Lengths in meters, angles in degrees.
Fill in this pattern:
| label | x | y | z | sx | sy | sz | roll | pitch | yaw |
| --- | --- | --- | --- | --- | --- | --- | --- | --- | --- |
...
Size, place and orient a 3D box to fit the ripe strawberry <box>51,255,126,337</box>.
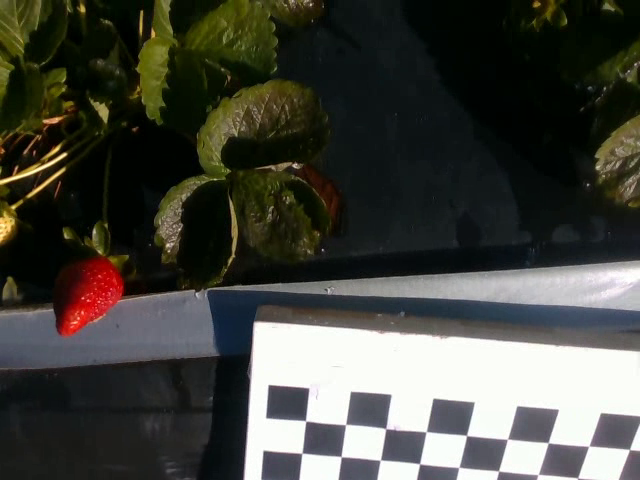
| label | x | y | z | sx | sy | sz | roll | pitch | yaw |
| --- | --- | --- | --- | --- | --- | --- | --- | --- | --- |
| ripe strawberry | -0.108 | 0.028 | 0.299 | 0.036 | 0.038 | 0.046 | 4 | 37 | 5 |
